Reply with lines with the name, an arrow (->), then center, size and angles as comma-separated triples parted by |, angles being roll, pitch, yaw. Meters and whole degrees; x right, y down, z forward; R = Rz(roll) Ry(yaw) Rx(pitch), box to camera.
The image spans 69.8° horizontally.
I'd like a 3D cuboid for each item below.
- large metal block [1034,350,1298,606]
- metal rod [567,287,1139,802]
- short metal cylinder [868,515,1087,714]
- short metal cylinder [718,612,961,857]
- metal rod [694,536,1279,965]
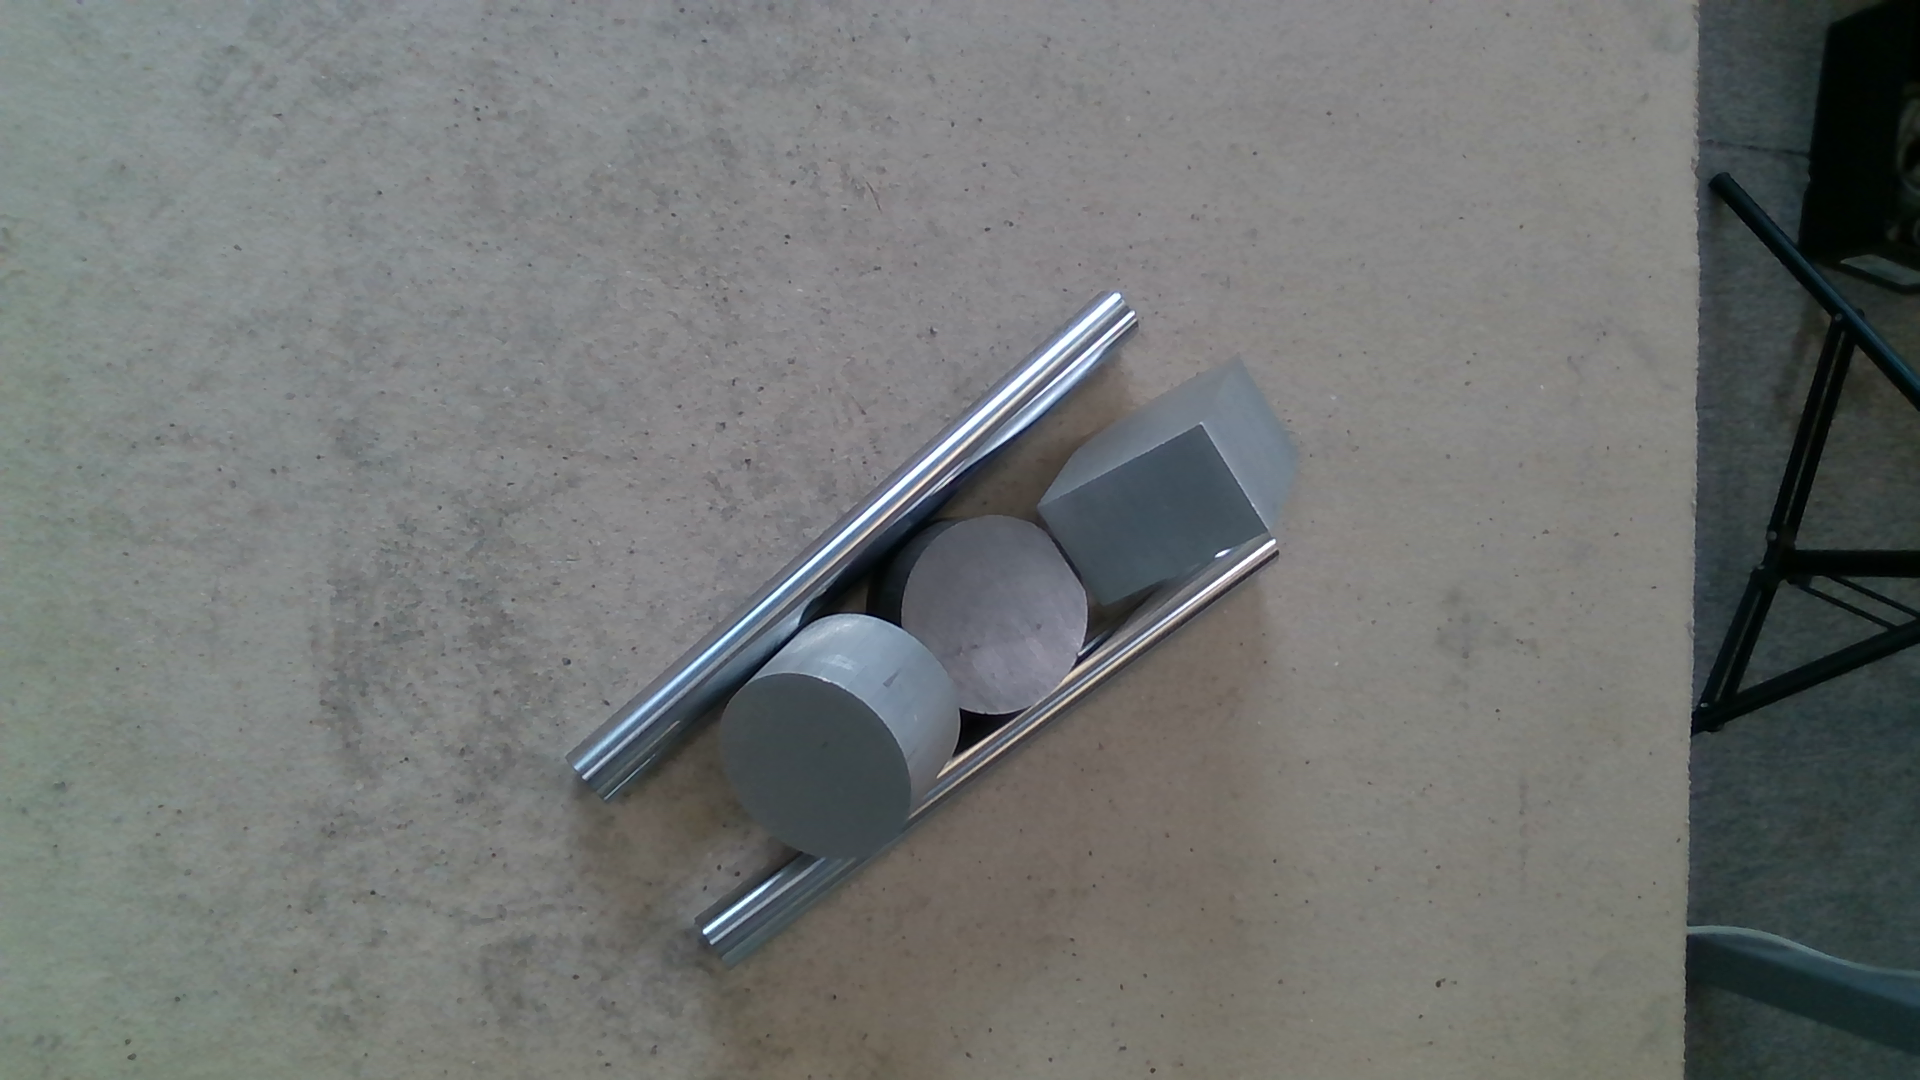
large metal block -> 0.088, -0.026, 0.573 | 0.050, 0.080, 0.080 | 55, 32, -12
metal rod -> -0.037, -0.005, 0.572 | 0.300, 0.025, 0.025 | -42, 104, -15
short metal cylinder -> 0.006, 0.030, 0.575 | 0.080, 0.050, 0.080 | 0, 90, -20
short metal cylinder -> -0.046, 0.075, 0.534 | 0.080, 0.080, 0.050 | 60, 30, -11
metal rod -> 0.020, 0.079, 0.594 | 0.300, 0.025, 0.025 | -34, 101, -17
